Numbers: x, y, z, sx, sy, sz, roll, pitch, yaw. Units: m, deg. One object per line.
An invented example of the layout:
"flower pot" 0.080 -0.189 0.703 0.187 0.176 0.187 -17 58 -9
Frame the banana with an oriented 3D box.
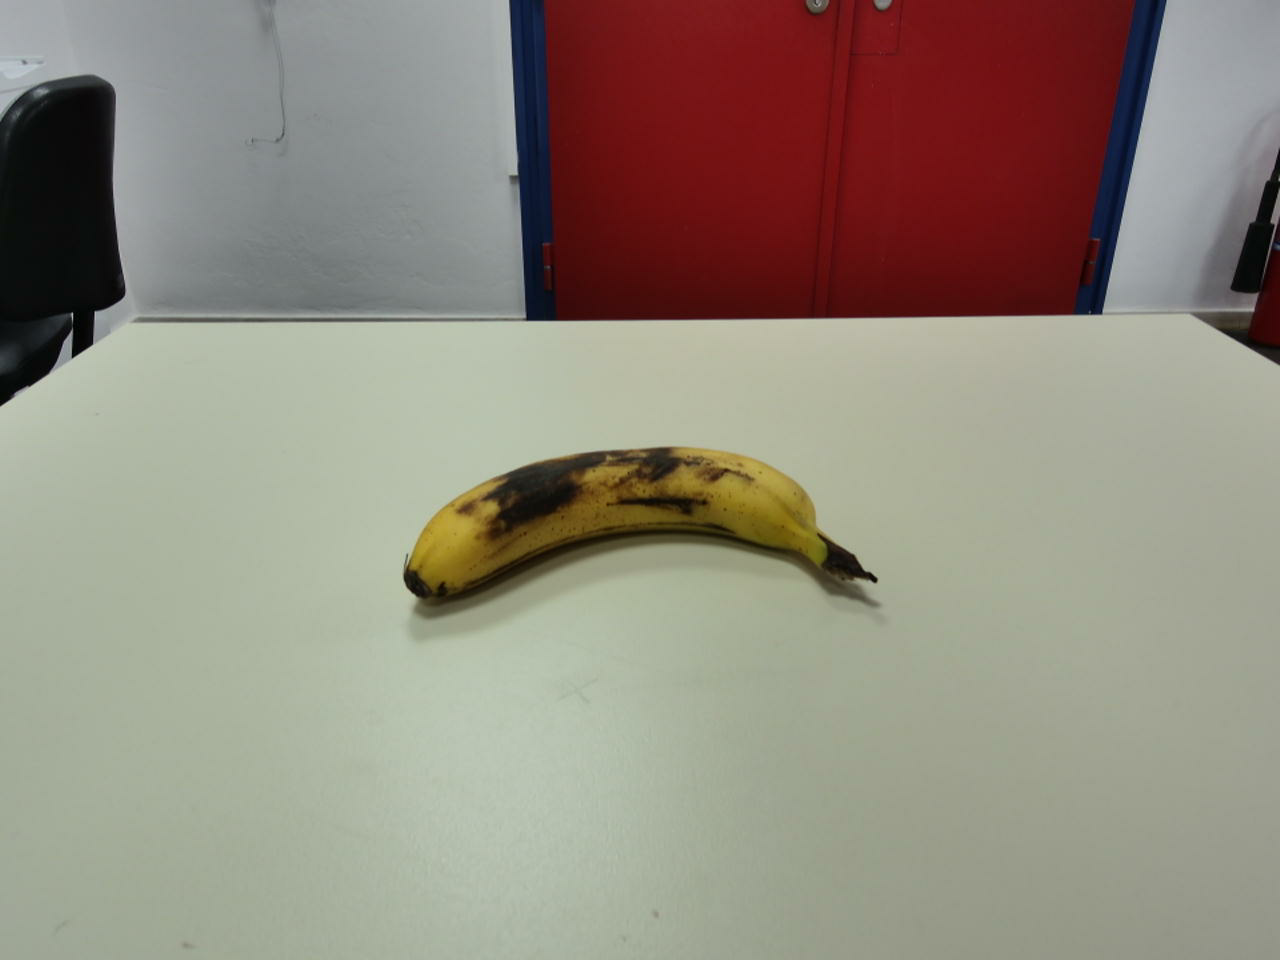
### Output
"banana" -0.003 0.016 0.434 0.187 0.039 0.094 -1 24 -2
